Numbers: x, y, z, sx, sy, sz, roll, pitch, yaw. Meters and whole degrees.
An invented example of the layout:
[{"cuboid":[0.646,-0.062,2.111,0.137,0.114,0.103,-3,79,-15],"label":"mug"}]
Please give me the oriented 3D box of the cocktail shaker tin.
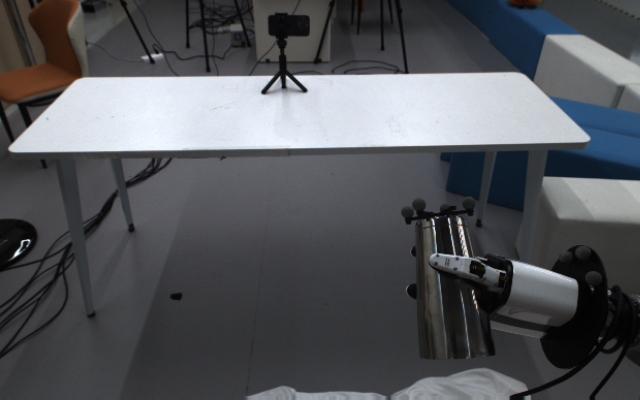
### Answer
[{"cuboid":[0.169,0.110,0.614,0.093,0.093,0.170,-4,74,-9],"label":"cocktail shaker tin"}]
